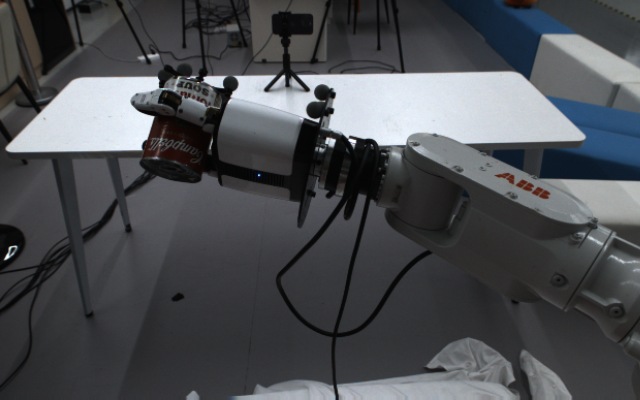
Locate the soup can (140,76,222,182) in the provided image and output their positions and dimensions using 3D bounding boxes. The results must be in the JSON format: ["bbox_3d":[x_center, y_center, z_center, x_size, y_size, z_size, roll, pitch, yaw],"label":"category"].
[{"bbox_3d":[-0.153,-0.077,0.542,0.067,0.067,0.101,8,72,8],"label":"soup can"}]
